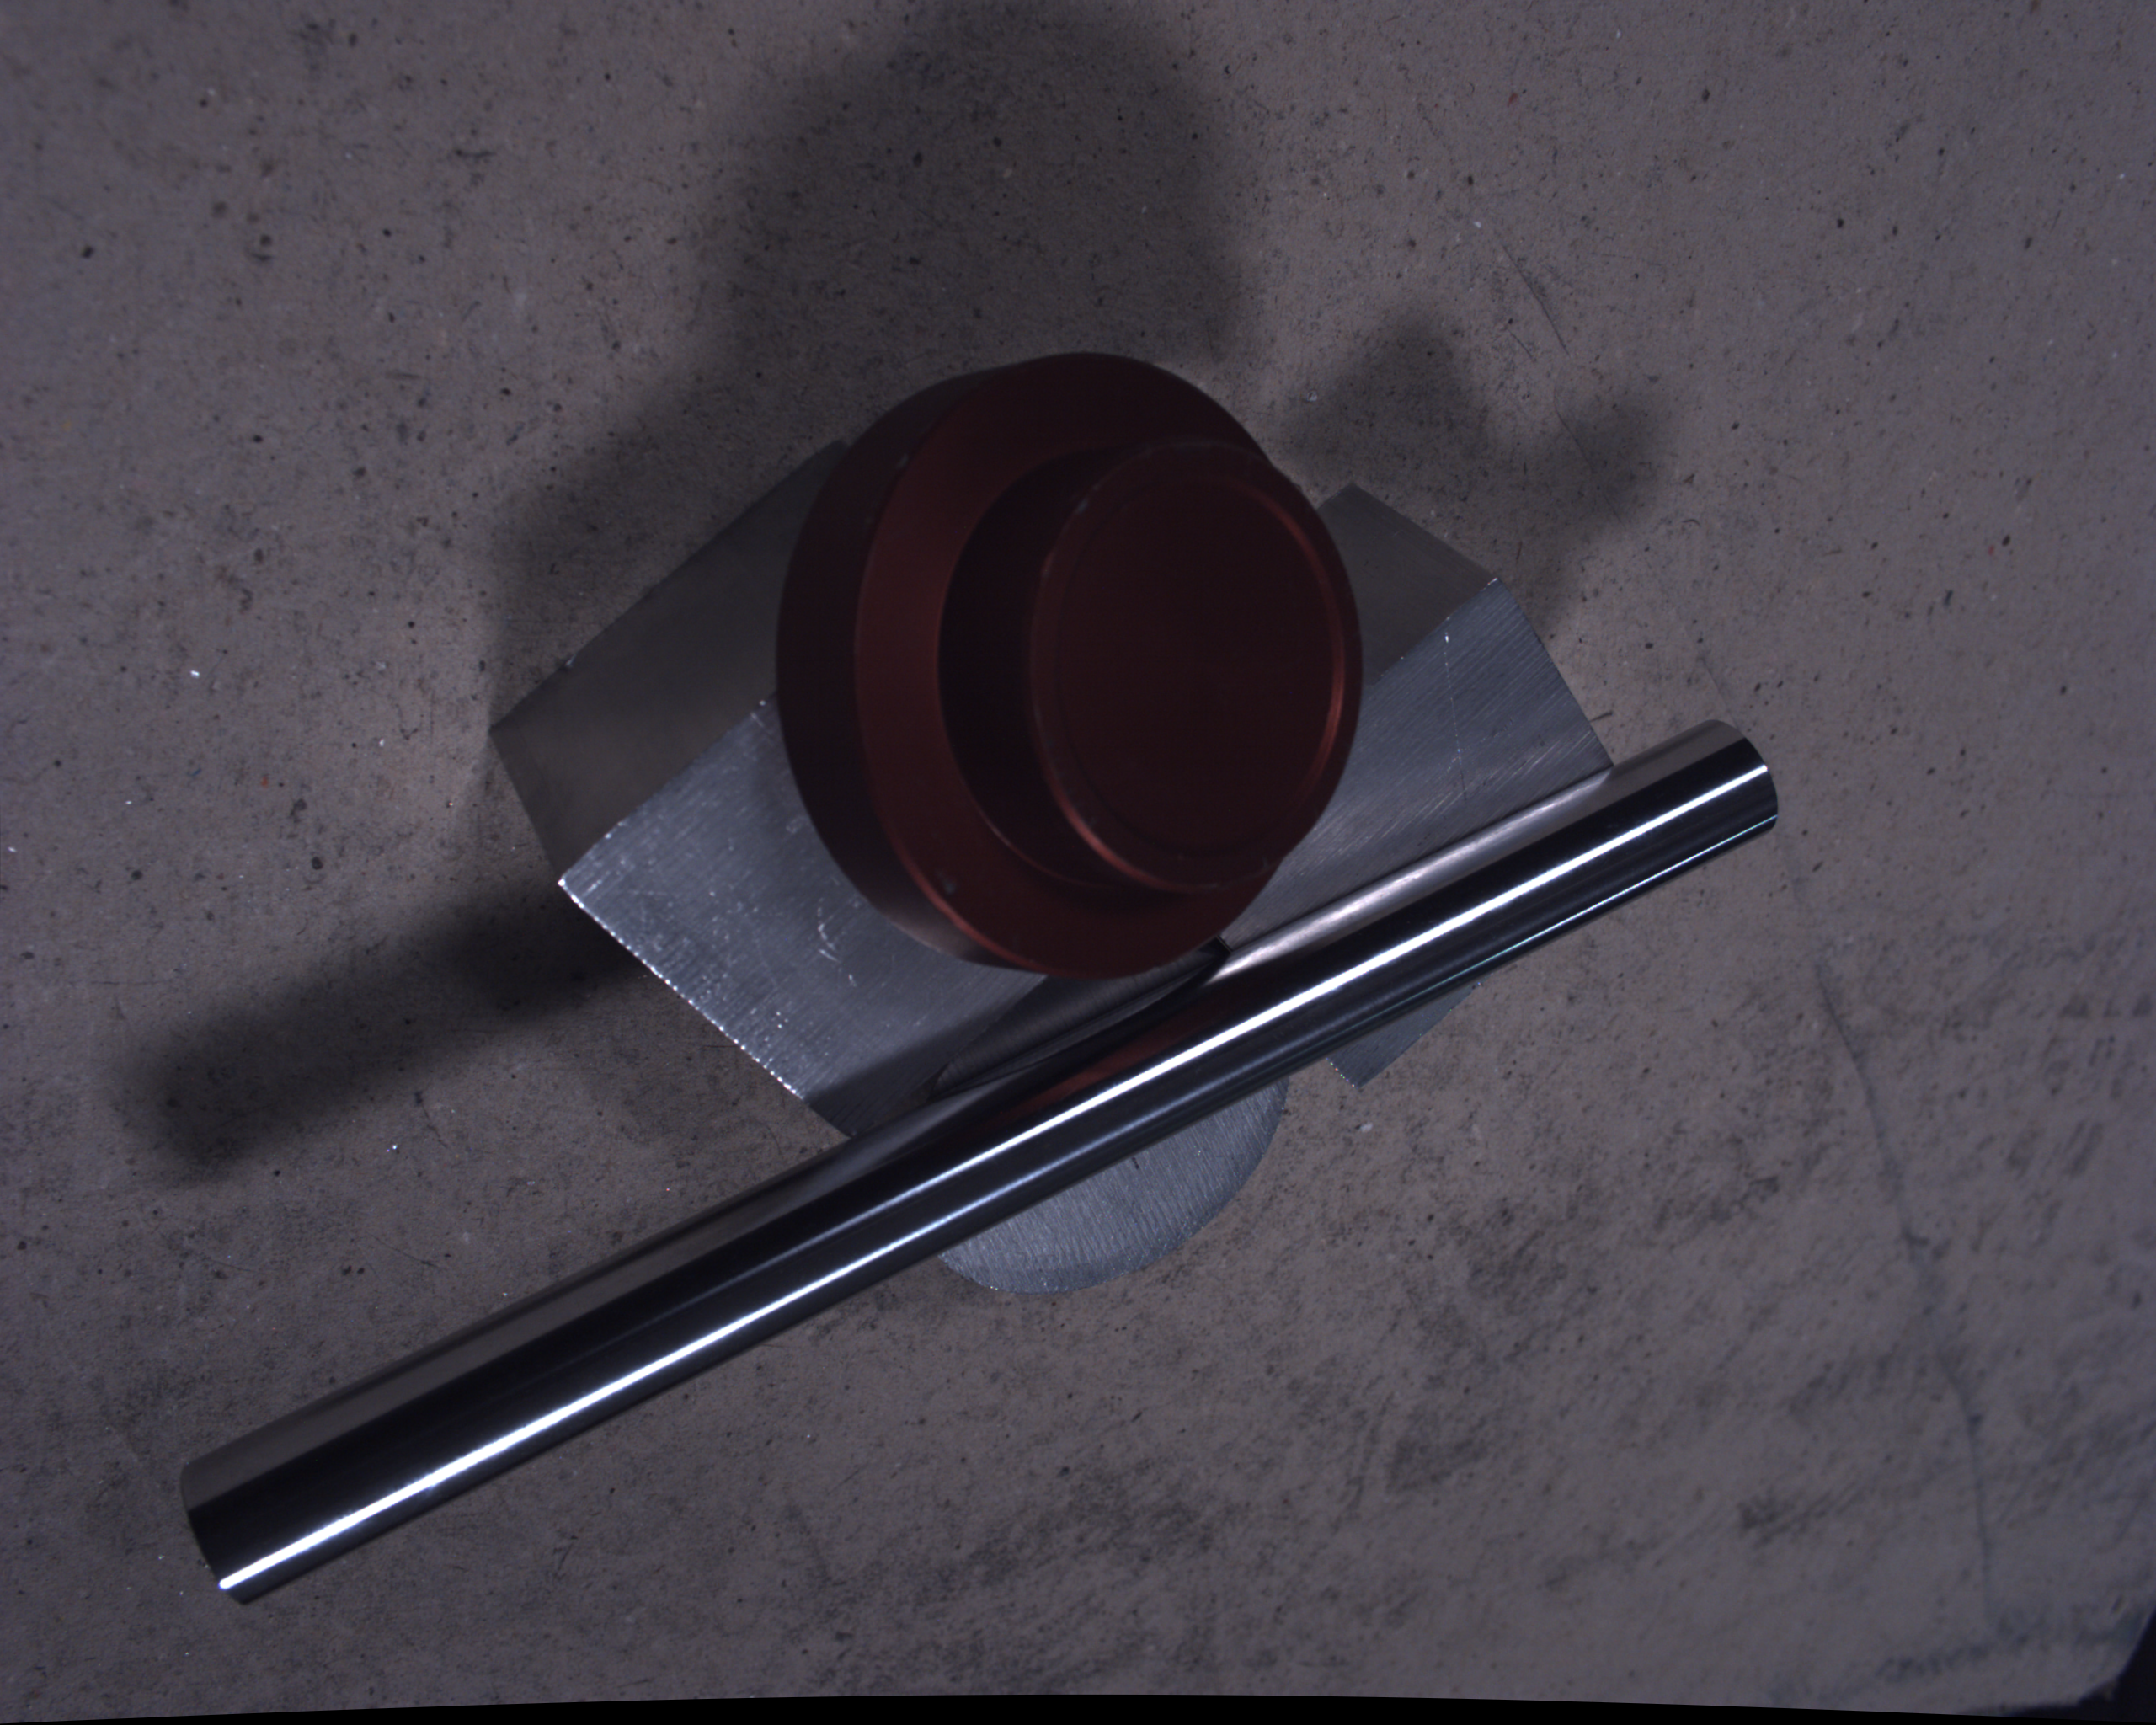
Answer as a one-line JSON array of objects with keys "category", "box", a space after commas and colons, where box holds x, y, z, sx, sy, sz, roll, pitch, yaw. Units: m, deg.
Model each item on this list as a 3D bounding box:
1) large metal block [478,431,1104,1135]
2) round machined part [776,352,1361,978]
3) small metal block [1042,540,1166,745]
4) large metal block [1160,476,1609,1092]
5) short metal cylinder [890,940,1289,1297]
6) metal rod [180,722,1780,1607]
[{"category": "large metal block", "box": [-0.041, -0.012, 0.362, 0.080, 0.050, 0.080, -41, 130, -1]}, {"category": "round machined part", "box": [0.006, -0.030, 0.326, 0.099, 0.042, 0.097, -3, 94, -40]}, {"category": "small metal block", "box": [0.011, -0.054, 0.381, 0.050, 0.025, 0.050, -40, 130, -1]}, {"category": "large metal block", "box": [0.055, -0.015, 0.415, 0.080, 0.050, 0.080, -41, 130, 0]}, {"category": "short metal cylinder", "box": [-0.005, 0.039, 0.414, 0.081, 0.050, 0.079, -14, 125, -21]}, {"category": "metal rod", "box": [-0.005, 0.046, 0.370, 0.302, 0.025, 0.025, -25, 128, -13]}]
